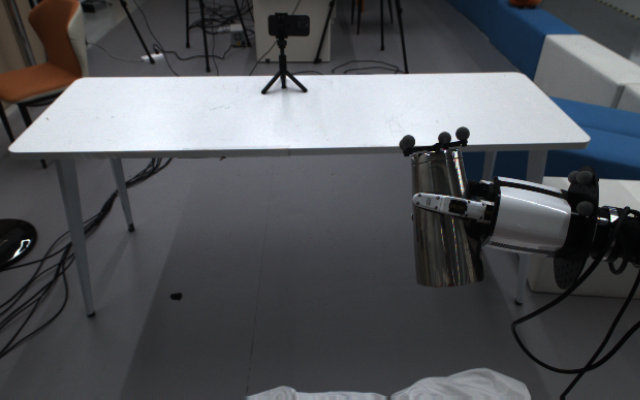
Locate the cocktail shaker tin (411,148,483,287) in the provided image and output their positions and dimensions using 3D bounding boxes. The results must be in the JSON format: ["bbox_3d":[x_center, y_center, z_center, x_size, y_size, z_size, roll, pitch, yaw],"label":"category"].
[{"bbox_3d":[0.165,0.022,0.646,0.093,0.170,0.093,-8,1,0],"label":"cocktail shaker tin"}]
